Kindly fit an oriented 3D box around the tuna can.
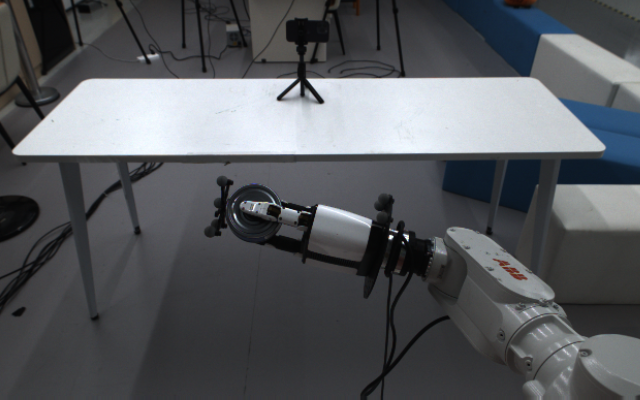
[{"bbox_3d":[-0.097,0.019,0.726,0.085,0.034,0.085,1,74,-5],"label":"tuna can"}]
